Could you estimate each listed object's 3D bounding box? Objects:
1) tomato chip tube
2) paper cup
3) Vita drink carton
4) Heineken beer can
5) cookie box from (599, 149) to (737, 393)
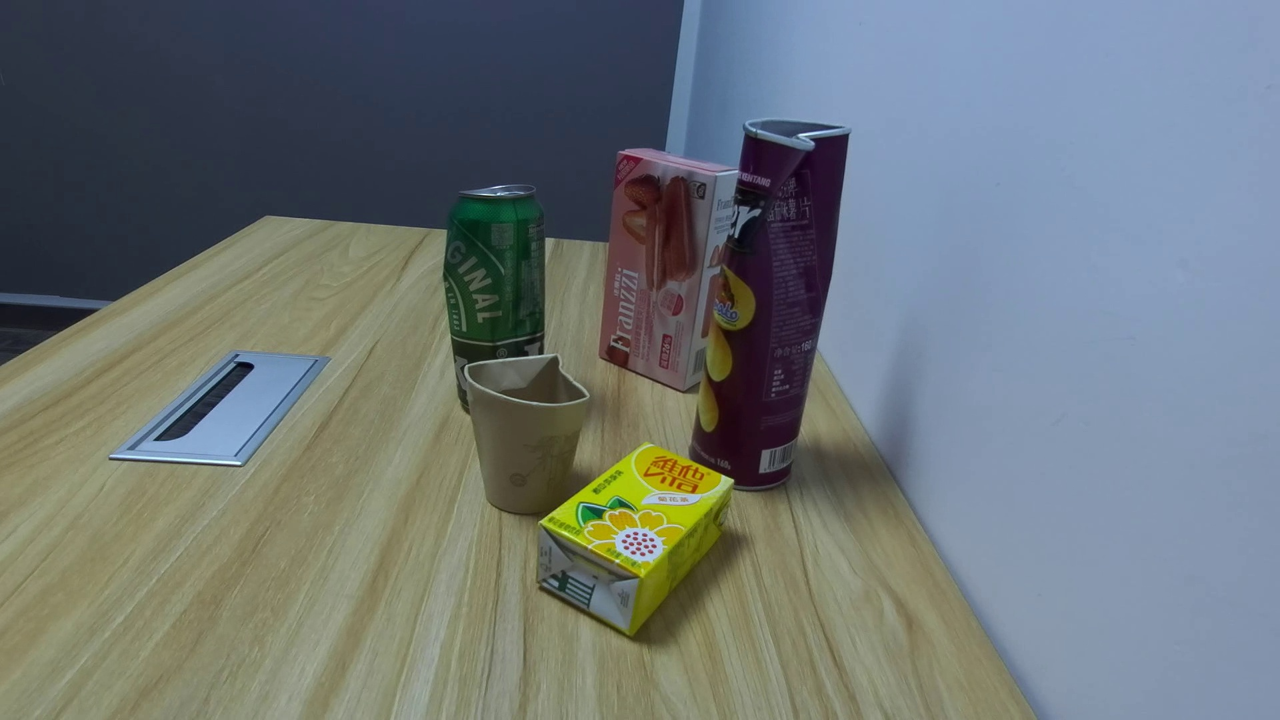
[{"bbox_3d":[0.085,-0.031,0.463,0.078,0.235,0.076,5,25,-2],"label":"tomato chip tube"},{"bbox_3d":[-0.072,0.048,0.441,0.066,0.084,0.071,-5,27,-24],"label":"paper cup"},{"bbox_3d":[0.001,0.097,0.404,0.066,0.043,0.109,21,28,26],"label":"Vita drink carton"},{"bbox_3d":[-0.105,-0.042,0.529,0.068,0.168,0.069,1,21,-4],"label":"Heineken beer can"},{"bbox_3d":[0.022,-0.075,0.599,0.096,0.184,0.048,21,27,30],"label":"cookie box"}]
